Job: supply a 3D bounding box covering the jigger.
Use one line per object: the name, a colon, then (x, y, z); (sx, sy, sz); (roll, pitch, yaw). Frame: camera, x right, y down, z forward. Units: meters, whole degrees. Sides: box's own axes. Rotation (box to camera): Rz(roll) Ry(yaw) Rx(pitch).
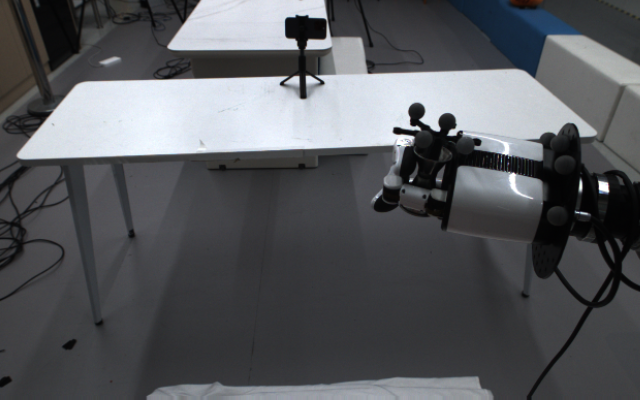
jigger: (0.114, -0.021, 0.521); (0.043, 0.071, 0.043); (7, 32, -4)
